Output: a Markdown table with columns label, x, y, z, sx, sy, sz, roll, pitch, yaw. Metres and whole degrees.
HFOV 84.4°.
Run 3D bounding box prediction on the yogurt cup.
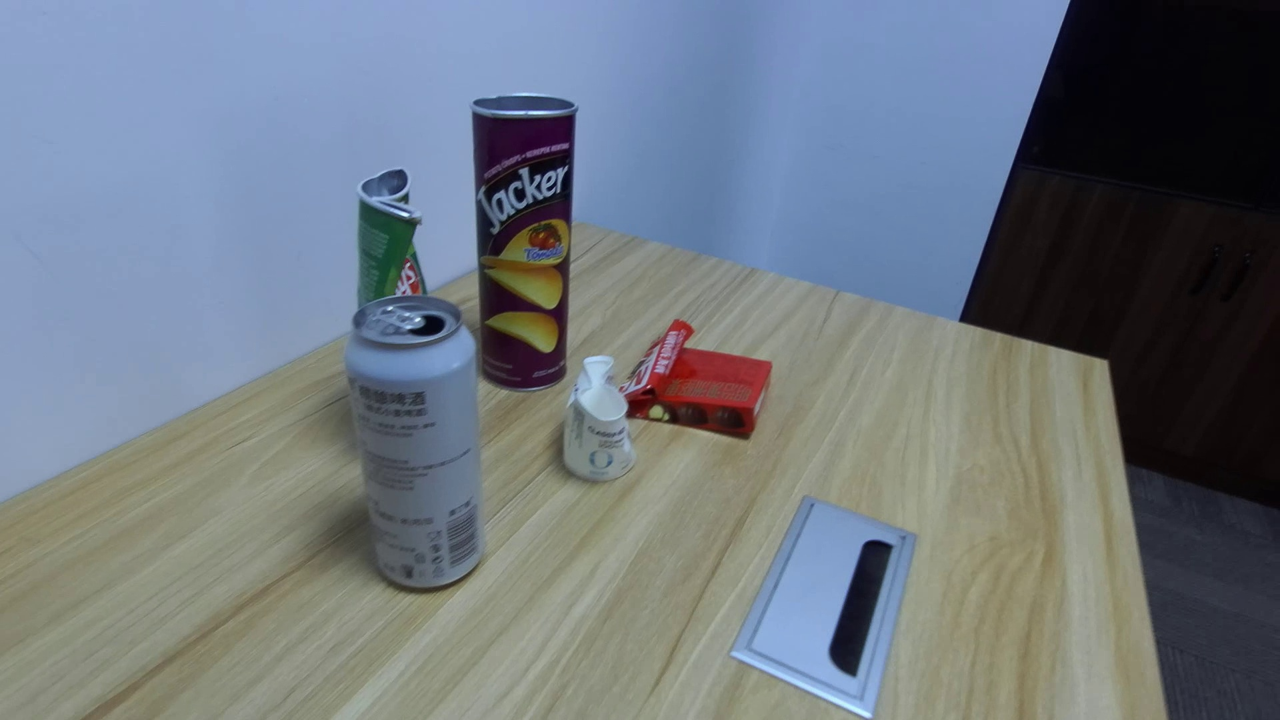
| label | x | y | z | sx | sy | sz | roll | pitch | yaw |
| --- | --- | --- | --- | --- | --- | --- | --- | --- | --- |
| yogurt cup | -0.028 | 0.046 | 0.519 | 0.054 | 0.071 | 0.075 | -15 | 36 | -30 |

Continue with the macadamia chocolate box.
| label | x | y | z | sx | sy | sz | roll | pitch | yaw |
| --- | --- | --- | --- | --- | --- | --- | --- | --- | --- |
| macadamia chocolate box | 0.046 | 0.021 | 0.616 | 0.126 | 0.056 | 0.112 | 17 | 47 | 14 |

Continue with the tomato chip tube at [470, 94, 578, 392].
| label | x | y | z | sx | sy | sz | roll | pitch | yaw |
| --- | --- | --- | --- | --- | --- | --- | --- | --- | --- |
| tomato chip tube | -0.094 | -0.091 | 0.586 | 0.080 | 0.234 | 0.076 | 1 | 30 | -7 |

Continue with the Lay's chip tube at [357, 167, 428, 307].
| label | x | y | z | sx | sy | sz | roll | pitch | yaw |
| --- | --- | --- | --- | --- | --- | --- | --- | --- | --- |
| Lay's chip tube | -0.166 | -0.023 | 0.487 | 0.077 | 0.201 | 0.069 | 30 | 39 | 32 |

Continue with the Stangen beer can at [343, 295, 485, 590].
| label | x | y | z | sx | sy | sz | roll | pitch | yaw |
| --- | --- | --- | --- | --- | --- | --- | --- | --- | --- |
| Stangen beer can | -0.124 | 0.051 | 0.401 | 0.067 | 0.171 | 0.067 | 4 | 29 | -2 |
